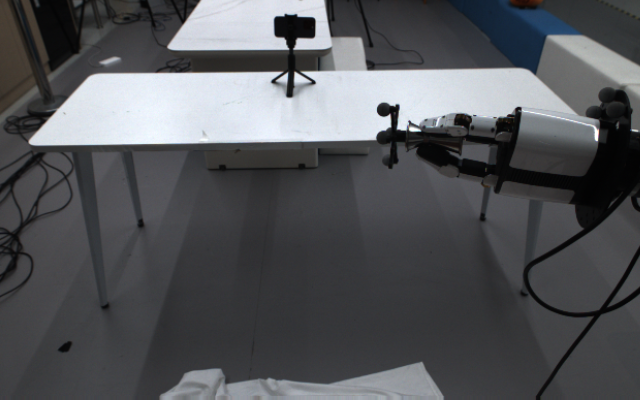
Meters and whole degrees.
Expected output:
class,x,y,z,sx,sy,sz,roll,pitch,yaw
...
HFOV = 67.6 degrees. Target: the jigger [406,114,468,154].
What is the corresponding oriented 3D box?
class,x,y,z,sx,sy,sz,roll,pitch,yaw
jigger,0.152,-0.083,0.613,0.071,0.043,0.043,4,34,16
